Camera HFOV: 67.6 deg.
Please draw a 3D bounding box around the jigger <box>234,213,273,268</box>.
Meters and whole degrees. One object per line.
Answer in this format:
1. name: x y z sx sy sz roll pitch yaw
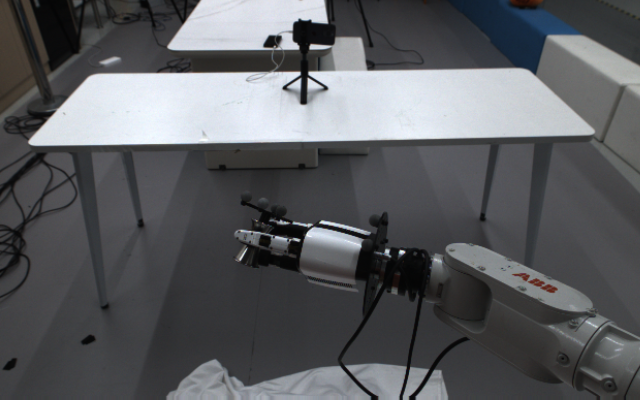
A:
1. jigger: -0.102 0.064 0.741 0.043 0.071 0.043 24 -2 1
